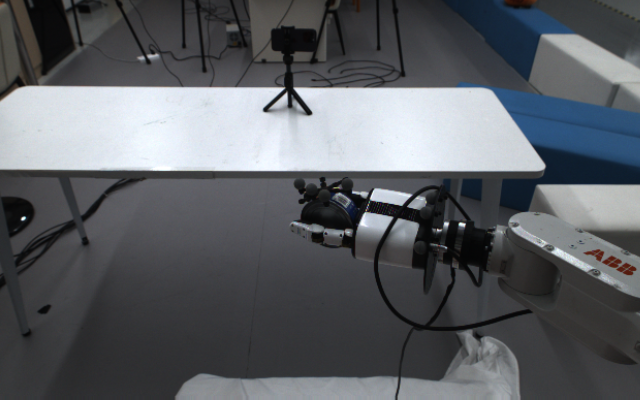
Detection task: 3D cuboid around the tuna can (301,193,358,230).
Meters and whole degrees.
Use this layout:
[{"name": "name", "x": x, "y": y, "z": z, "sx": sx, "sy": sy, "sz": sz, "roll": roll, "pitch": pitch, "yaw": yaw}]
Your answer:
[{"name": "tuna can", "x": 0.018, "y": 0.027, "z": 0.729, "sx": 0.085, "sy": 0.085, "sz": 0.034, "roll": 17, "pitch": 36, "yaw": 20}]
